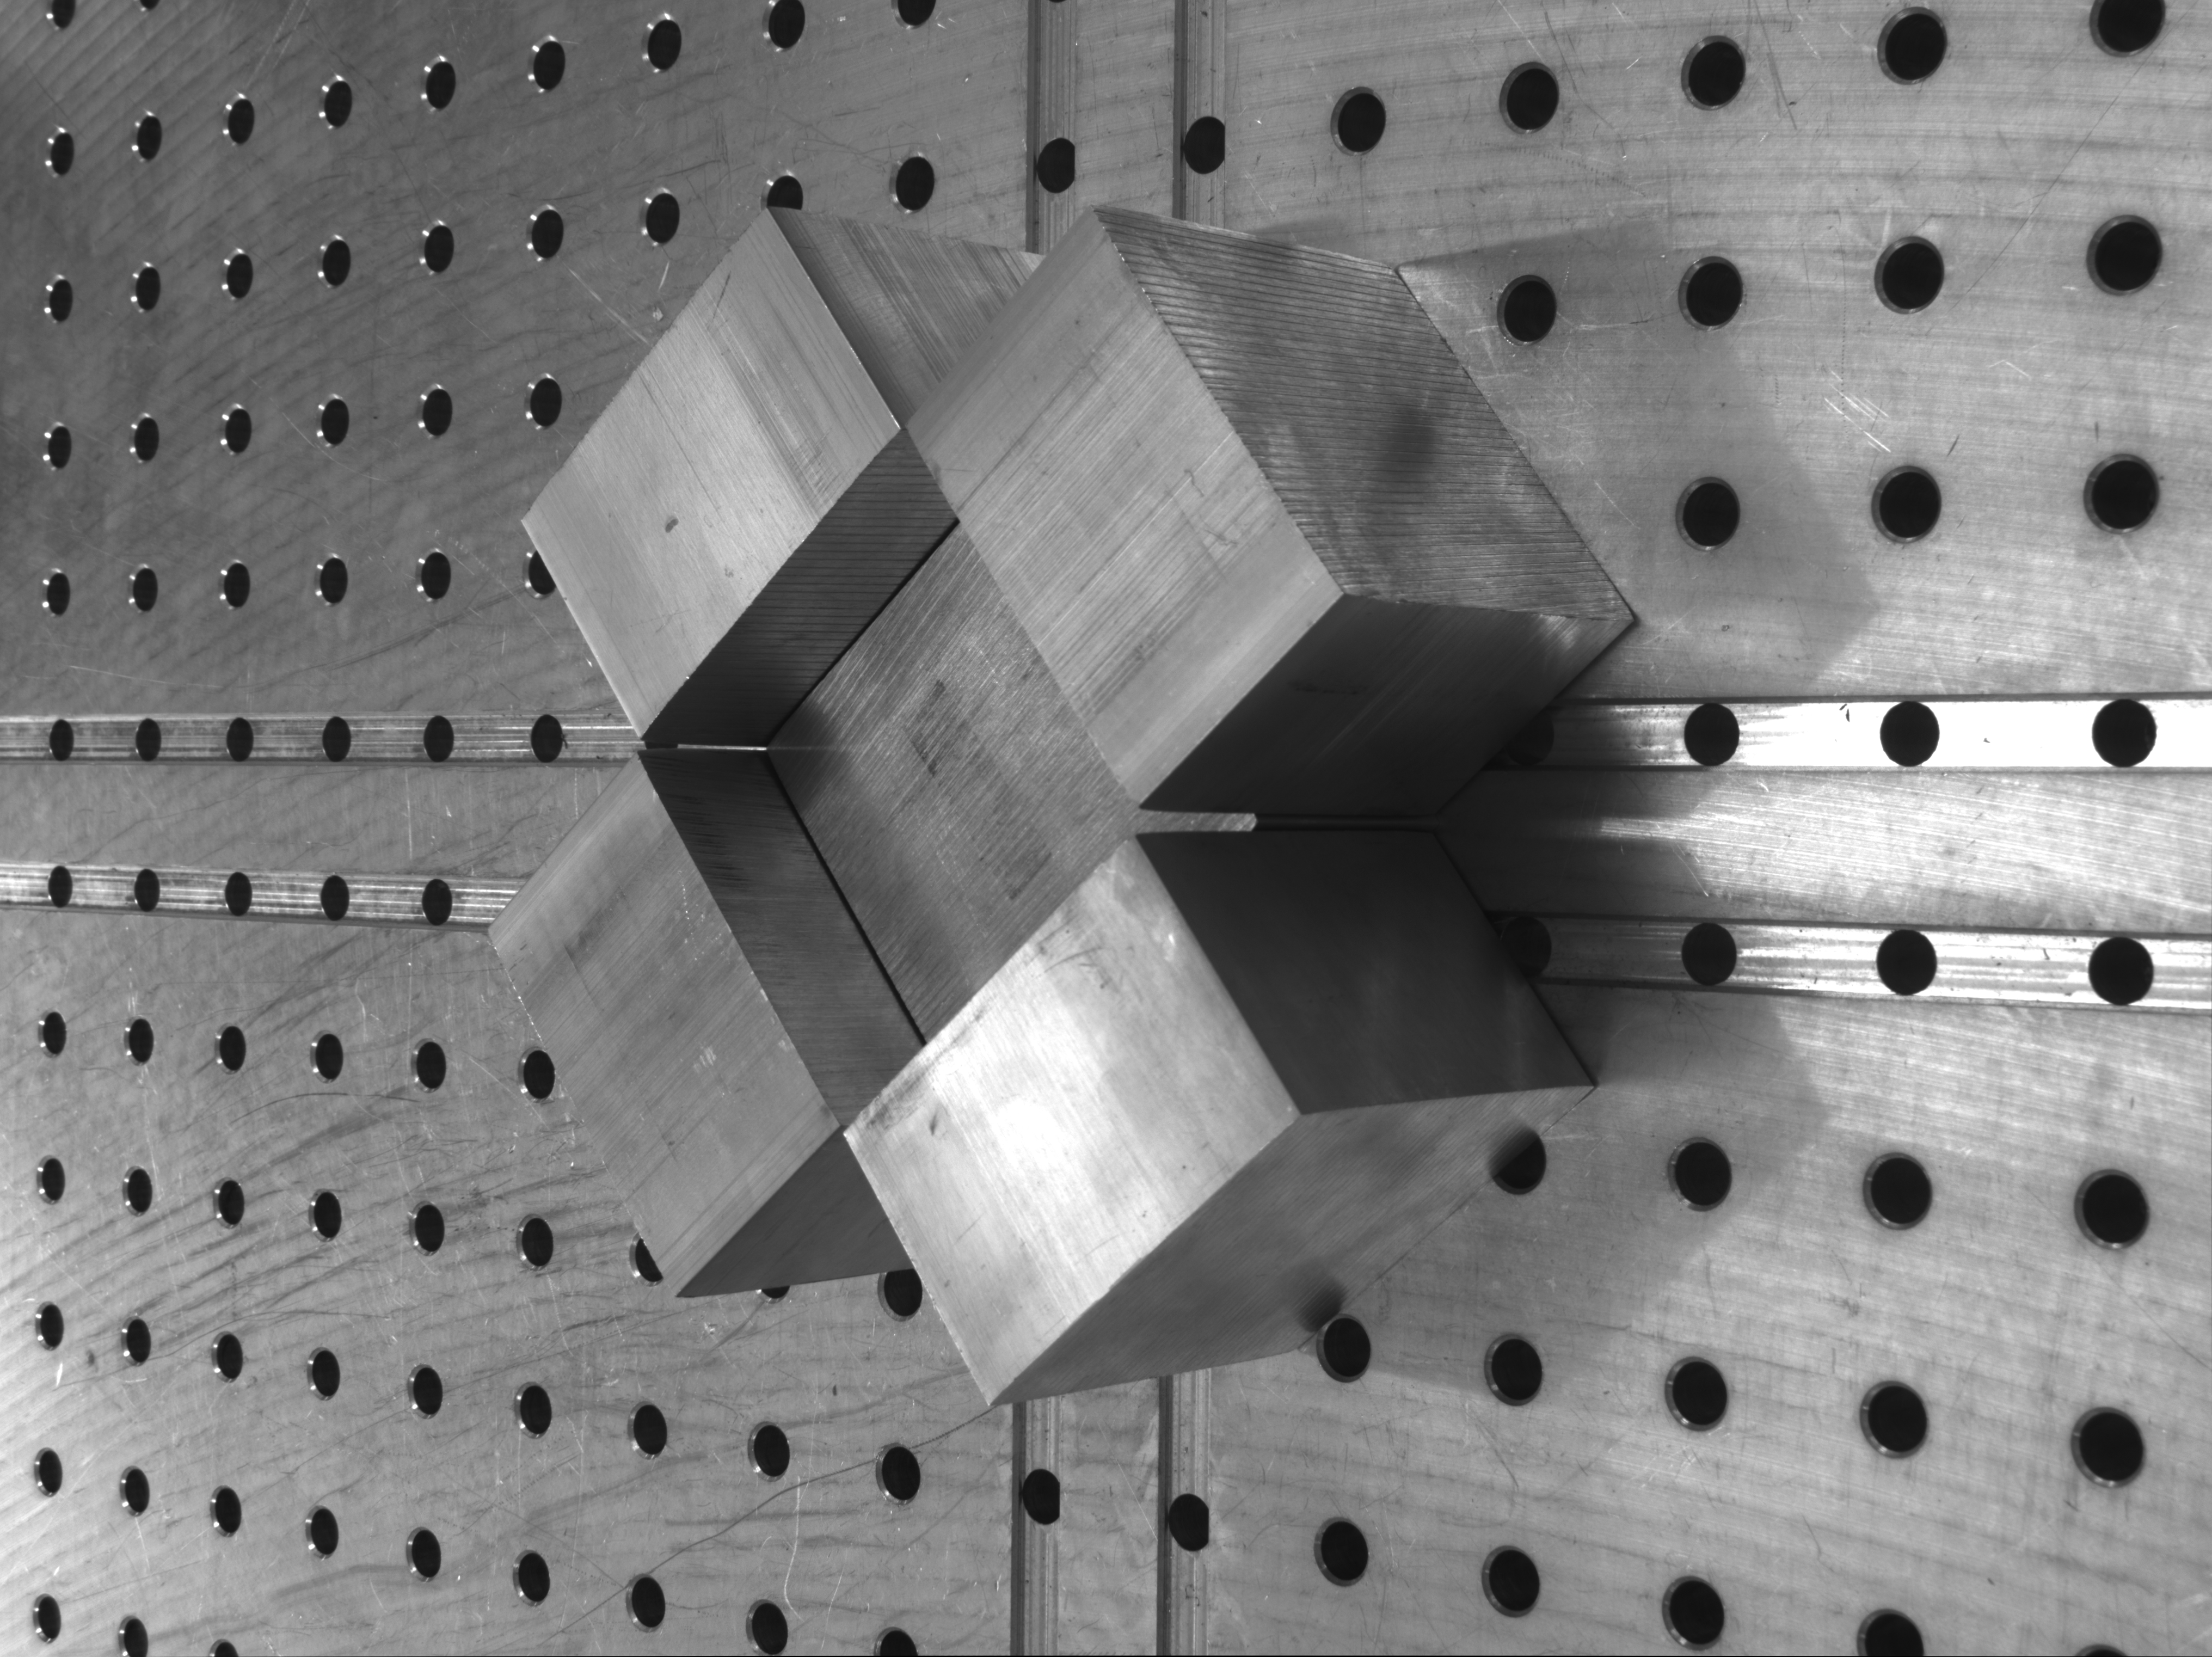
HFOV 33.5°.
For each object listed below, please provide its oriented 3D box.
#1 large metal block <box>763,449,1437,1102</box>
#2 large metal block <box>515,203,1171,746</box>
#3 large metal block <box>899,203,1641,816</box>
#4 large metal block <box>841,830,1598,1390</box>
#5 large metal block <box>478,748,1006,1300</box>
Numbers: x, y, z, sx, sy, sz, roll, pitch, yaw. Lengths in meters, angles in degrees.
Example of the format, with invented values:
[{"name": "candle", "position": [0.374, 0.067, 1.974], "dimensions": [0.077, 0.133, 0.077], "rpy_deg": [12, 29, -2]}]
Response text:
[{"name": "large metal block", "position": [-0.003, -0.008, 0.634], "dimensions": [0.080, 0.050, 0.080], "rpy_deg": [-47, 60, 32]}, {"name": "large metal block", "position": [-0.043, -0.059, 0.649], "dimensions": [0.080, 0.080, 0.050], "rpy_deg": [-46, 62, 30]}, {"name": "large metal block", "position": [0.027, -0.049, 0.591], "dimensions": [0.050, 0.080, 0.080], "rpy_deg": [-46, 63, 30]}, {"name": "large metal block", "position": [0.019, 0.044, 0.599], "dimensions": [0.080, 0.080, 0.050], "rpy_deg": [-45, 63, 31]}, {"name": "large metal block", "position": [-0.052, 0.033, 0.656], "dimensions": [0.050, 0.080, 0.080], "rpy_deg": [-46, 63, 30]}]
